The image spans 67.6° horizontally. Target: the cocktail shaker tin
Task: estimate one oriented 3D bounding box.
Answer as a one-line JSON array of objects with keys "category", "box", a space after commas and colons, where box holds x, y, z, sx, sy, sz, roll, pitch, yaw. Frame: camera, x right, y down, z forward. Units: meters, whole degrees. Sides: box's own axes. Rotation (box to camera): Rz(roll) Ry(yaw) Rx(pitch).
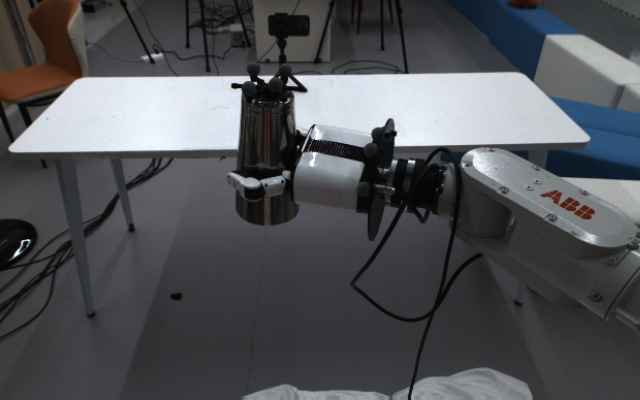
[{"category": "cocktail shaker tin", "box": [-0.068, -0.061, 0.646, 0.093, 0.170, 0.093, 3, 34, -2]}]
